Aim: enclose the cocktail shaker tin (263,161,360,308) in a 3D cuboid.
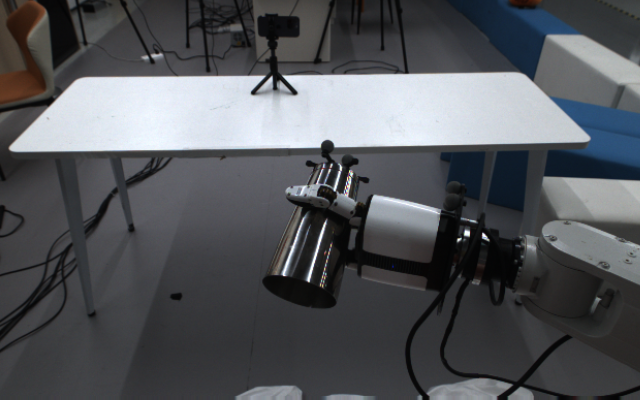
[{"bbox_3d":[-0.001,0.039,0.607,0.093,0.093,0.170,11,60,12],"label":"cocktail shaker tin"}]
